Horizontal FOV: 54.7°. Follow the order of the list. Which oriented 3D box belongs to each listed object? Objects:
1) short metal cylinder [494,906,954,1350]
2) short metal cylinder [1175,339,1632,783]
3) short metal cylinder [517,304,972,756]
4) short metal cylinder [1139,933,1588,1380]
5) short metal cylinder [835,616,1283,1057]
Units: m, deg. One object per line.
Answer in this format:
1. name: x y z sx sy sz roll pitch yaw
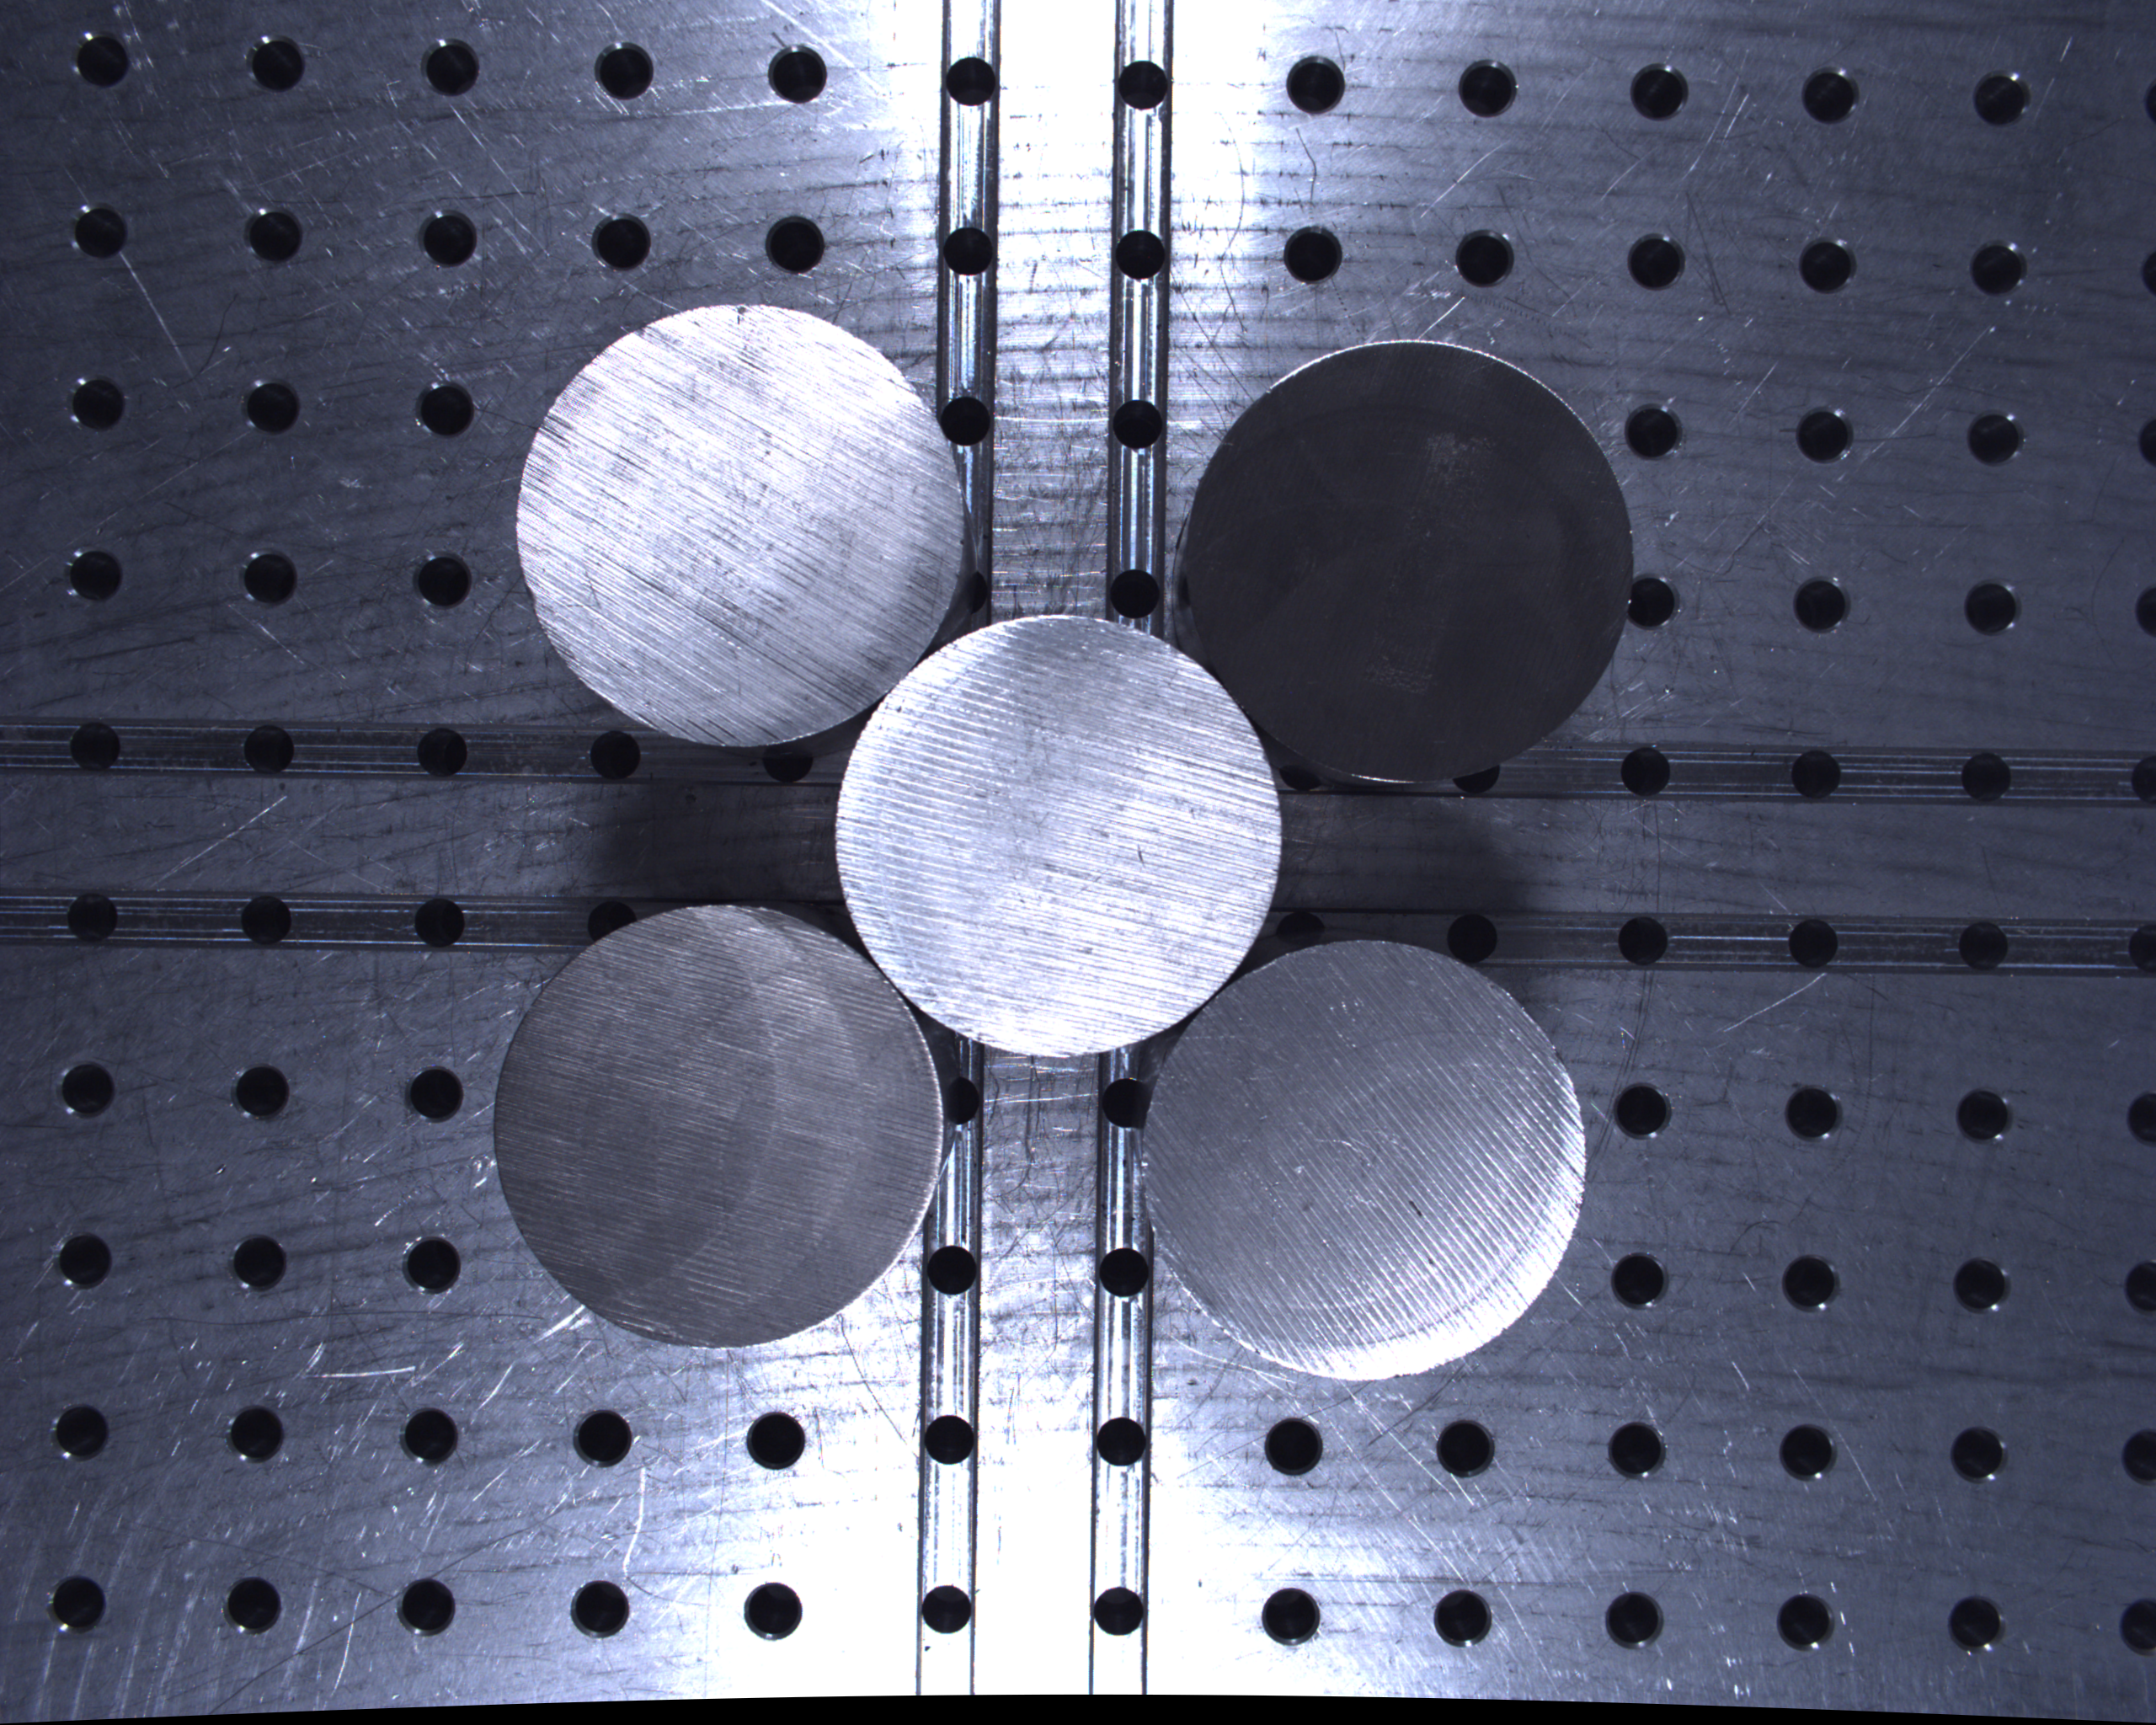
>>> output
1. short metal cylinder: -0.065 0.047 0.399 0.081 0.050 0.079 0 90 -1
2. short metal cylinder: 0.059 -0.054 0.399 0.081 0.050 0.079 0 90 -1
3. short metal cylinder: -0.061 -0.061 0.399 0.081 0.050 0.079 0 90 -1
4. short metal cylinder: 0.052 0.053 0.401 0.081 0.050 0.079 0 90 -1
5. short metal cylinder: -0.003 -0.005 0.400 0.081 0.050 0.079 0 90 -1
